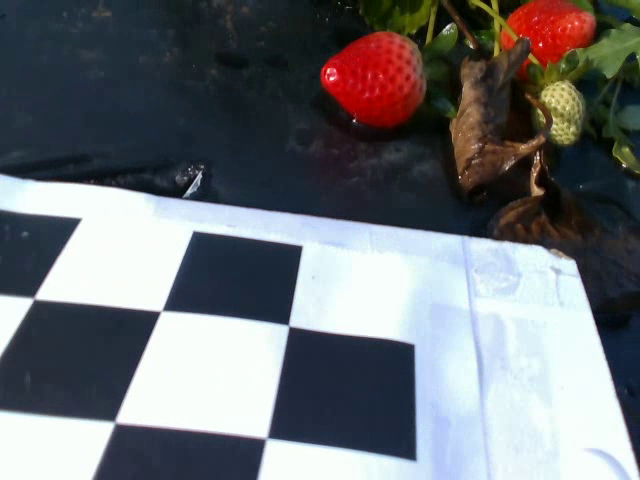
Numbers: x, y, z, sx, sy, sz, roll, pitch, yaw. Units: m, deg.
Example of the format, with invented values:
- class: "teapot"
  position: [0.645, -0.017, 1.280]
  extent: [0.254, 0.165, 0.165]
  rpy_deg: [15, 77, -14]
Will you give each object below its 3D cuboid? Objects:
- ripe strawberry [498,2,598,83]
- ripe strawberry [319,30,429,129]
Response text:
- class: "ripe strawberry"
  position: [0.093, -0.082, 0.253]
  extent: [0.039, 0.032, 0.048]
  rpy_deg: [-2, 1, -11]
- class: "ripe strawberry"
  position: [0.016, -0.054, 0.214]
  extent: [0.043, 0.030, 0.035]
  rpy_deg: [-17, 48, -30]
